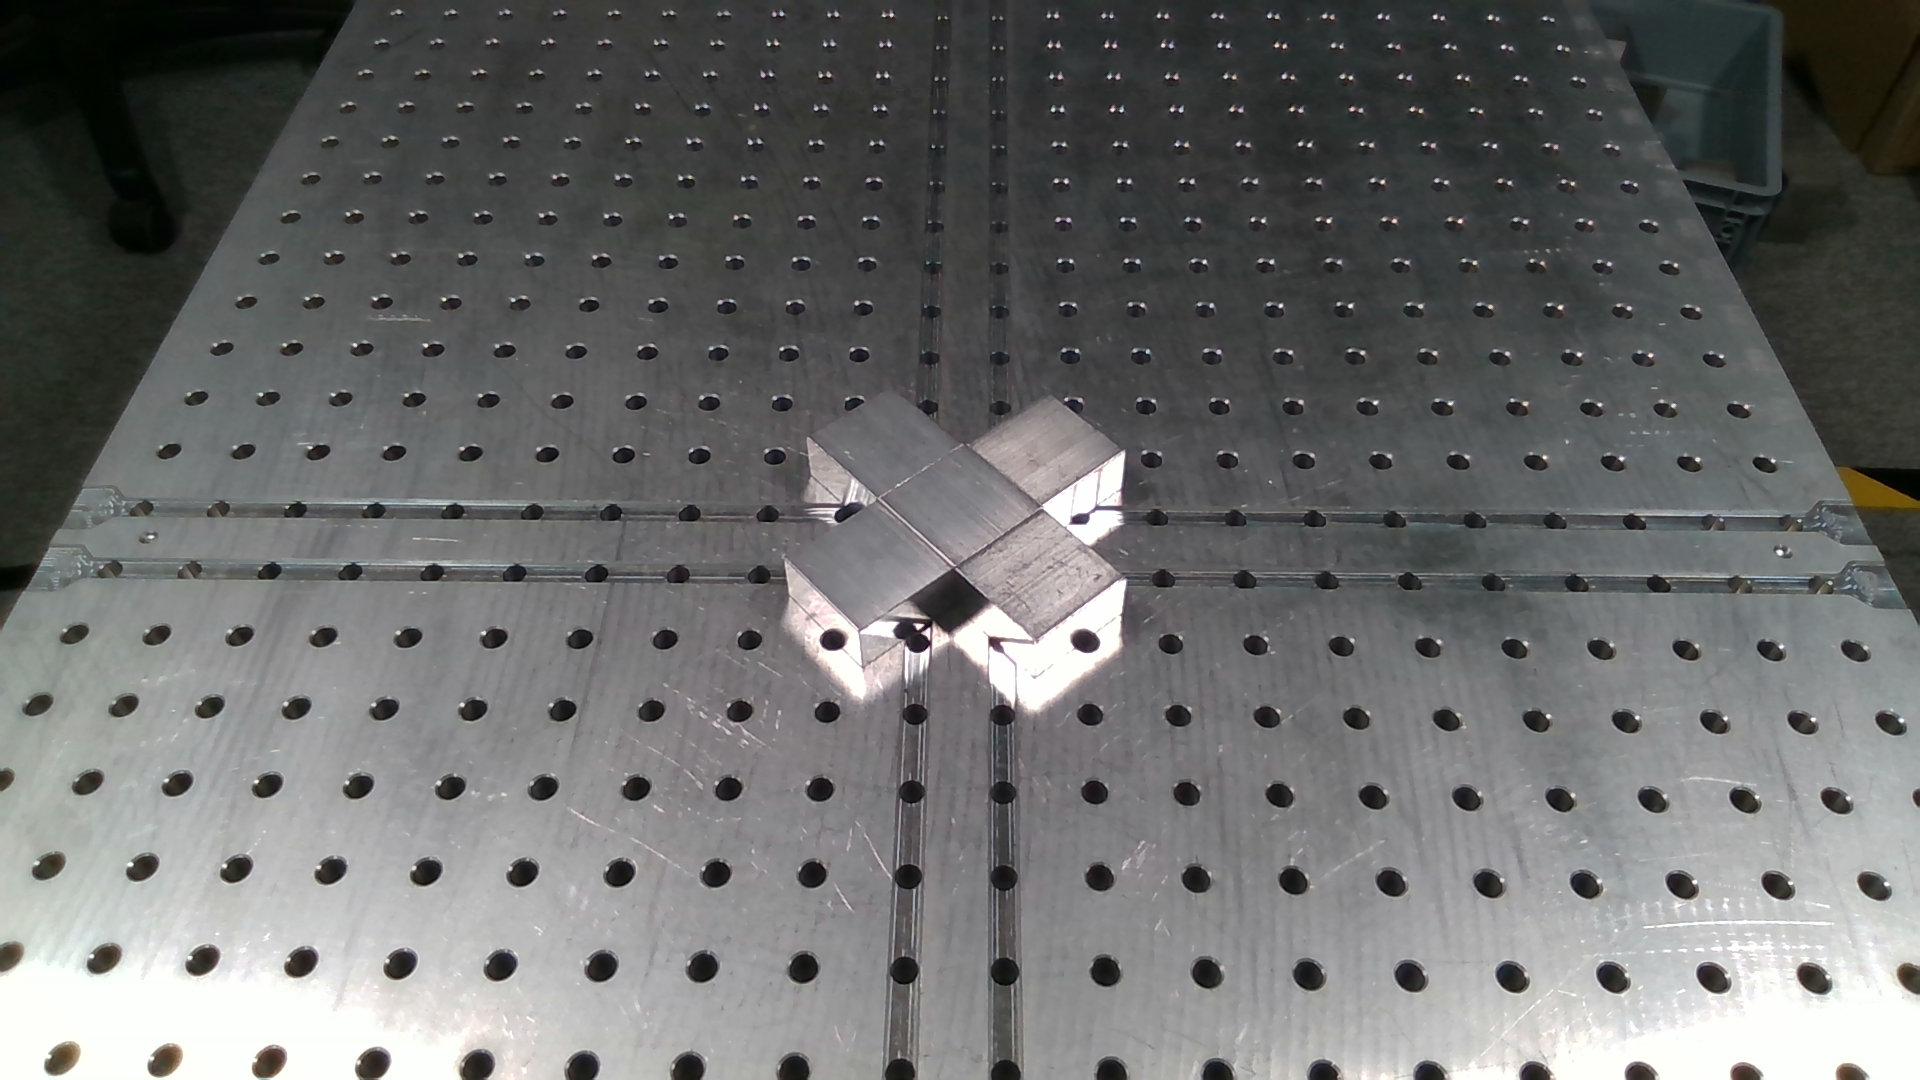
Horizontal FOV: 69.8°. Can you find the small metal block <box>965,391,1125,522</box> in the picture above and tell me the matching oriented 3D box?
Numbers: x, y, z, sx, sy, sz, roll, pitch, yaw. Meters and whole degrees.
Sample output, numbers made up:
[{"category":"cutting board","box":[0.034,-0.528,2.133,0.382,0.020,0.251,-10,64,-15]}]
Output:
[{"category":"small metal block","box":[0.038,-0.033,0.618,0.050,0.025,0.050,-34,58,-25]}]

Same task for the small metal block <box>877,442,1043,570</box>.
[{"category":"small metal block","box":[0.000,-0.008,0.596,0.050,0.025,0.050,-34,58,-25]}]

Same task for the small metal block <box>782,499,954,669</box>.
[{"category":"small metal block","box":[-0.038,0.018,0.575,0.050,0.025,0.050,-34,58,-25]}]

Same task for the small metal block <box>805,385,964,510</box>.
[{"category":"small metal block","box":[-0.034,-0.036,0.620,0.050,0.025,0.050,-34,58,-25]}]

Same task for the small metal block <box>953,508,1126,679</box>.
[{"category":"small metal block","box":[0.033,0.021,0.572,0.050,0.025,0.050,-34,58,-25]}]
